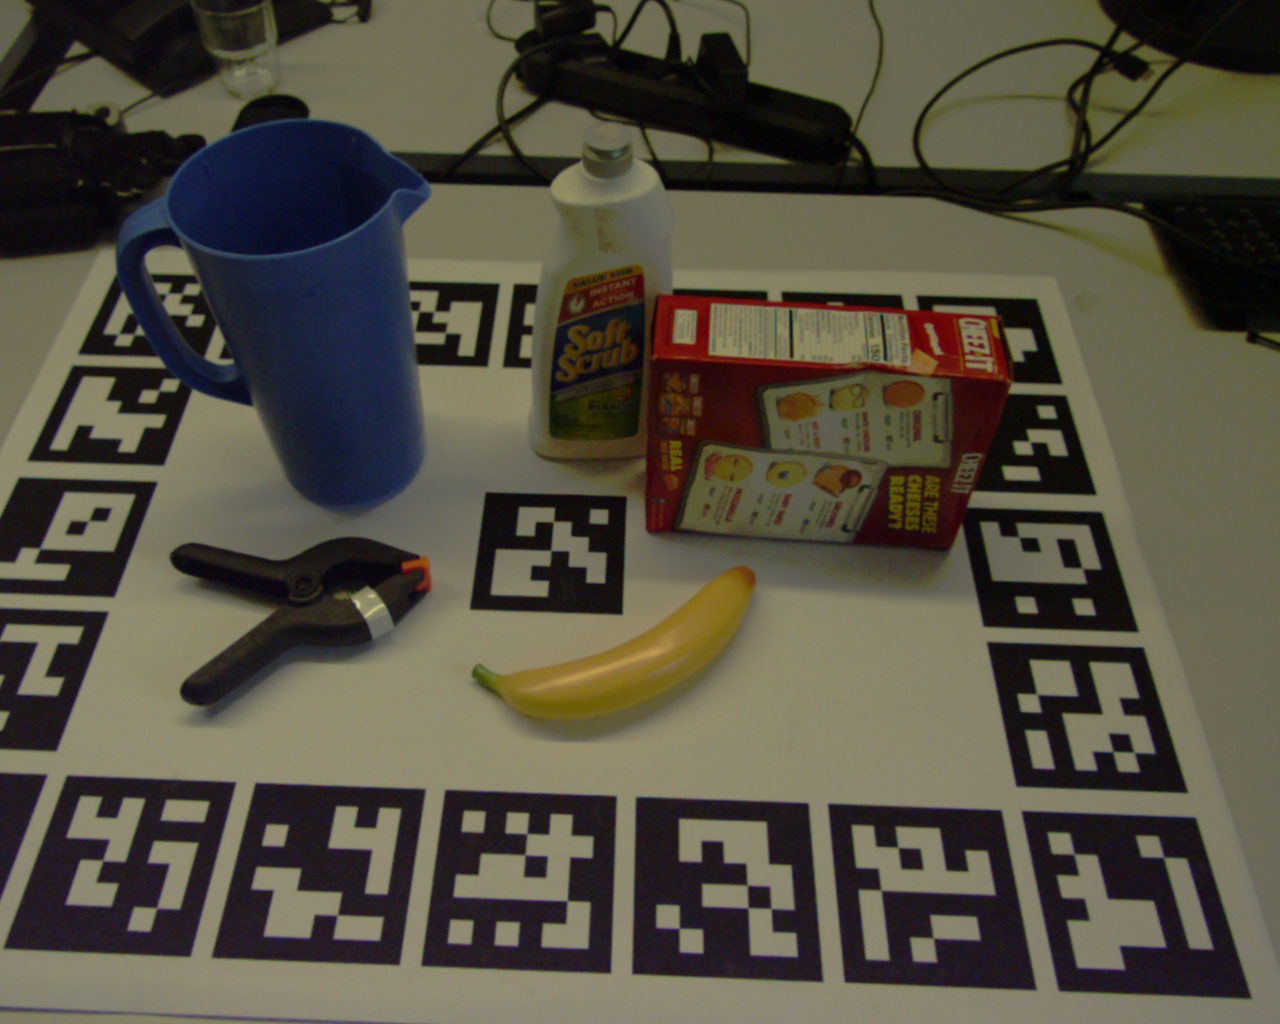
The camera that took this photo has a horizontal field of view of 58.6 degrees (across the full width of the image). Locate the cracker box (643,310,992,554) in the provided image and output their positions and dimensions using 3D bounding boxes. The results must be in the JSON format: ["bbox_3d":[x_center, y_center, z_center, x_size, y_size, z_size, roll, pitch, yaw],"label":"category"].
[{"bbox_3d":[0.110,-0.054,0.777,0.214,0.163,0.072,3,47,3],"label":"cracker box"}]

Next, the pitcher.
[{"bbox_3d":[-0.230,-0.123,0.772,0.187,0.242,0.134,-11,50,-14],"label":"pitcher"}]

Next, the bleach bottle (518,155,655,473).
[{"bbox_3d":[-0.042,-0.135,0.808,0.102,0.250,0.068,2,49,1],"label":"bleach bottle"}]

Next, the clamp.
[{"bbox_3d":[-0.226,0.058,0.781,0.164,0.036,0.123,-10,49,-11],"label":"clamp"}]

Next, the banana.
[{"bbox_3d":[-0.007,0.090,0.766,0.196,0.039,0.075,-25,54,-20],"label":"banana"}]
